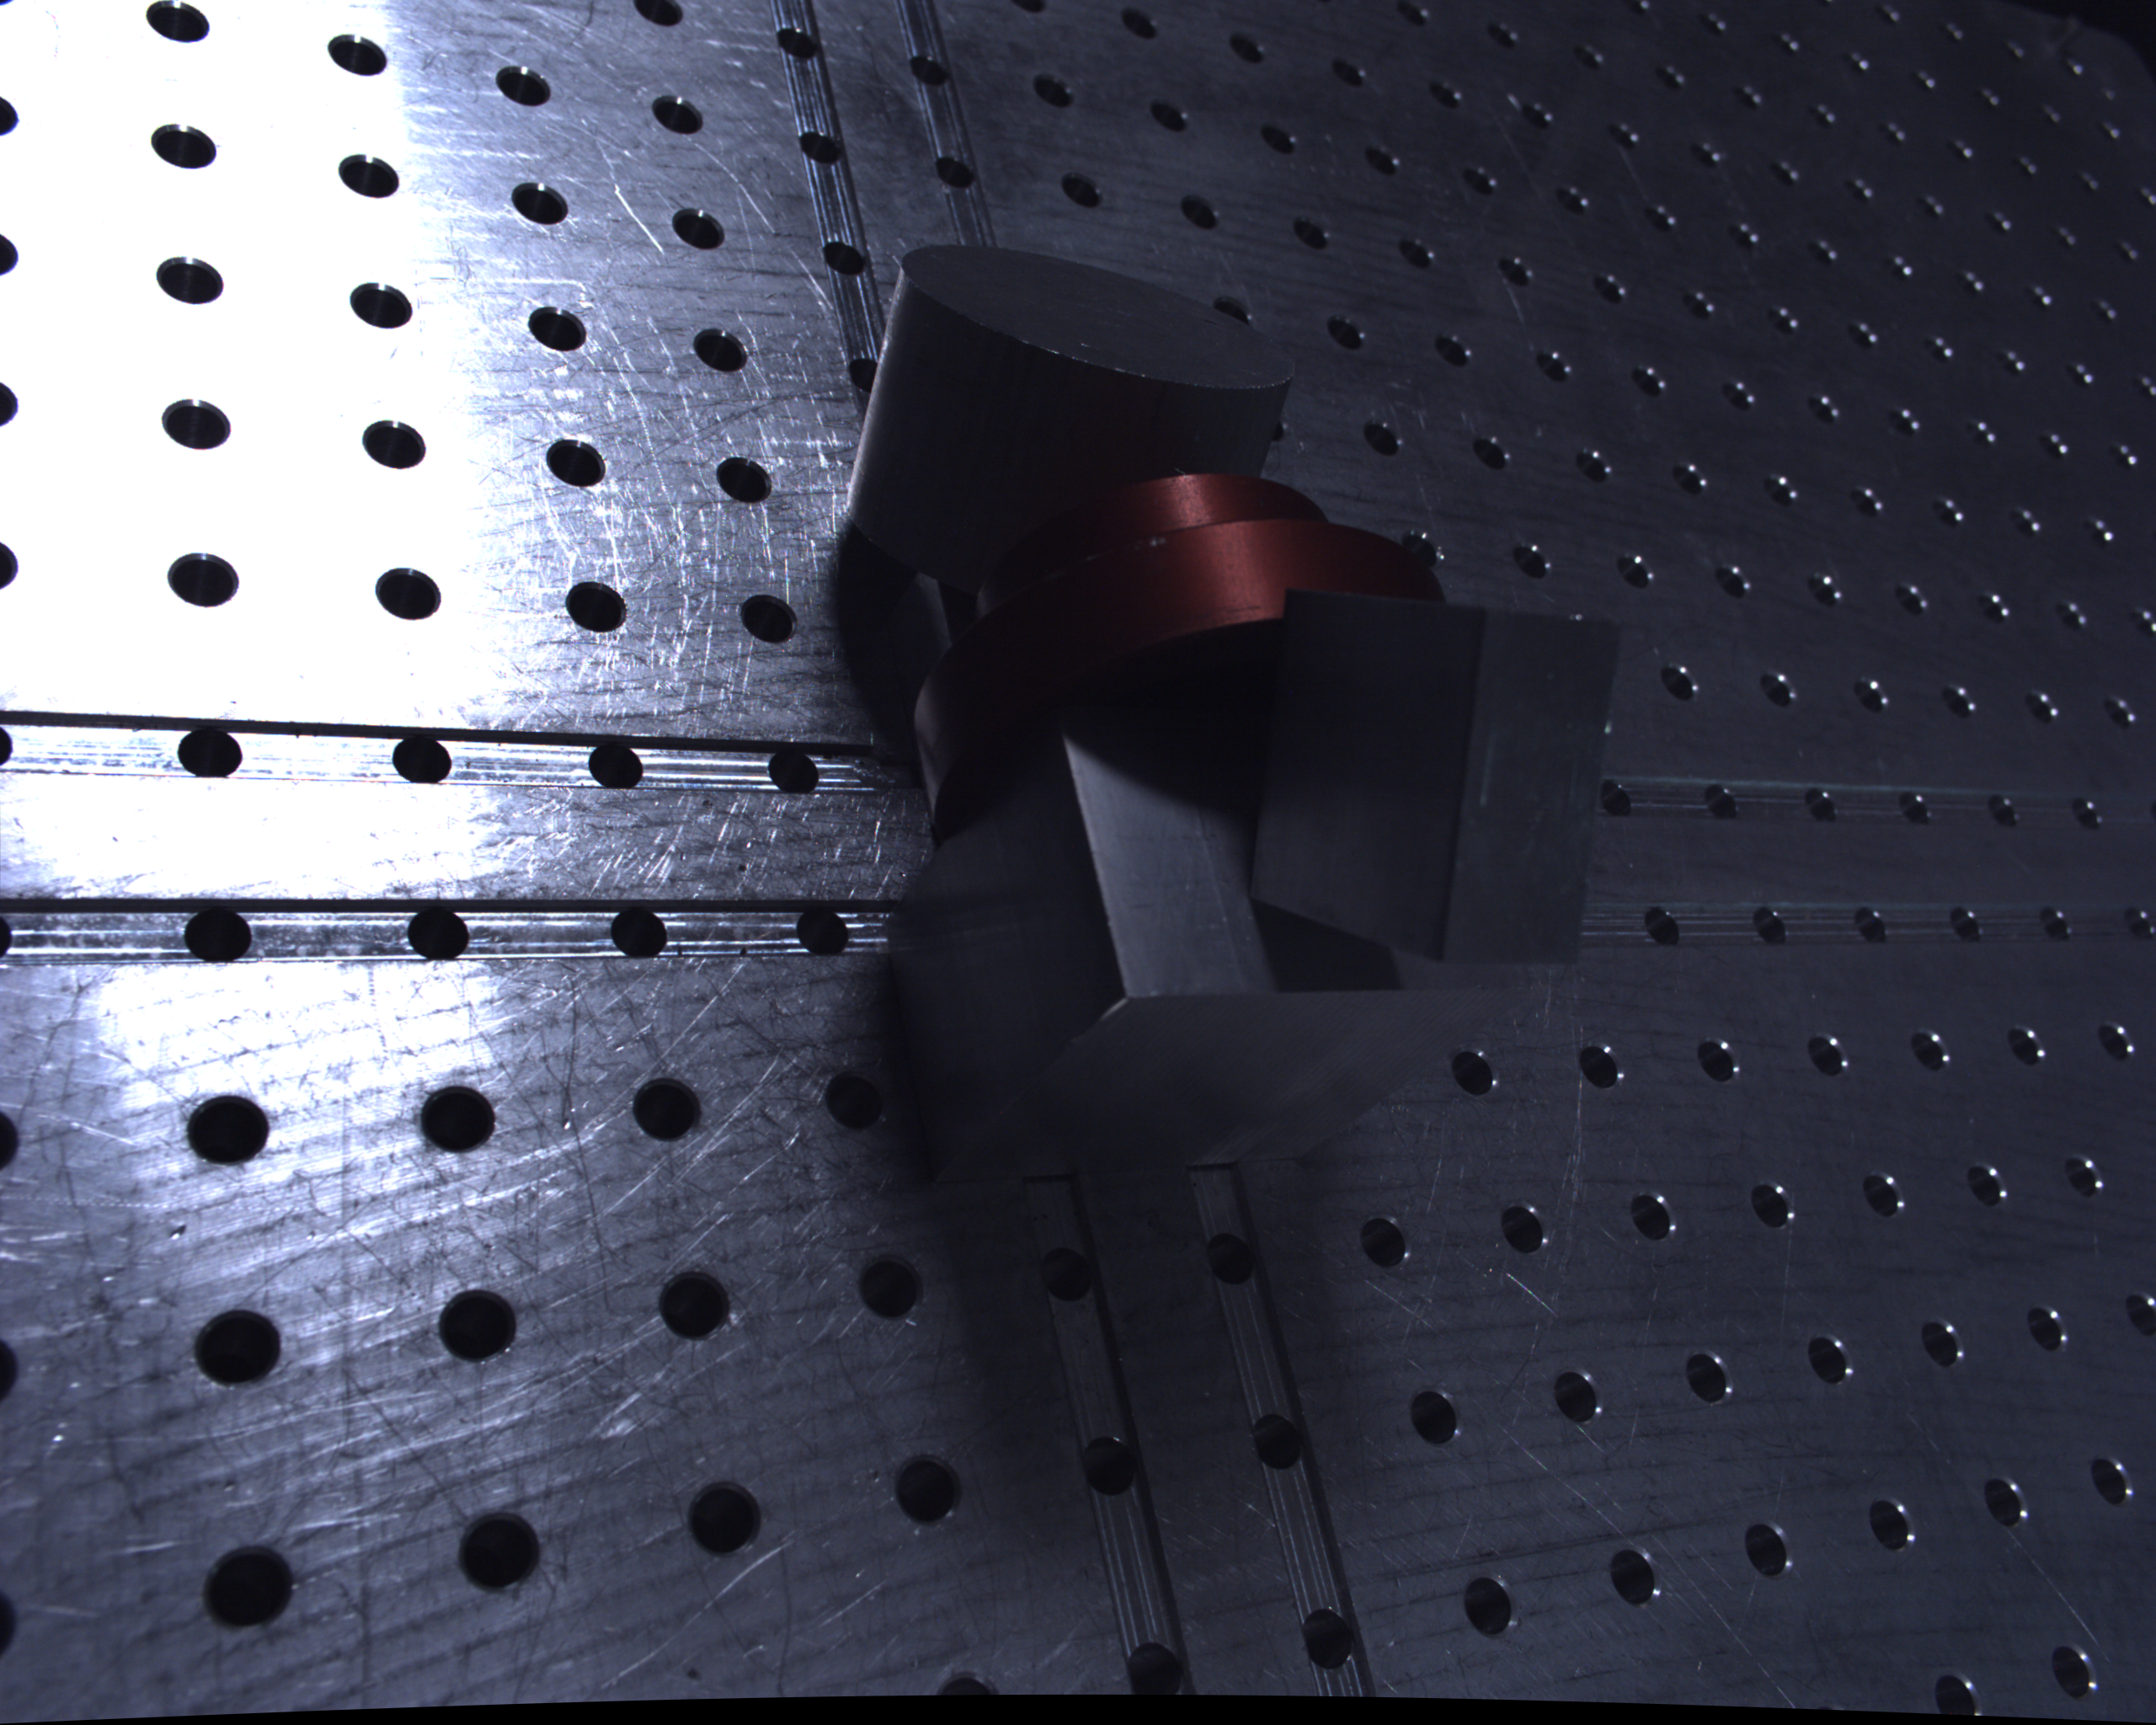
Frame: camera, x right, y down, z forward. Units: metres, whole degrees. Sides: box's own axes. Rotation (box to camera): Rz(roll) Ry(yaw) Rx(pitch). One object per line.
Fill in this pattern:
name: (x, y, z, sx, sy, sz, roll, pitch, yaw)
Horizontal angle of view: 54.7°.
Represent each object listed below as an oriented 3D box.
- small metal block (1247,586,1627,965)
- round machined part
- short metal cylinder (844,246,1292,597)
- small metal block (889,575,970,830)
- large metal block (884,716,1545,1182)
small metal block: (0.052, -0.014, 0.314, 0.025, 0.050, 0.050, 2, 99, -29)
round machined part: (0.019, -0.034, 0.380, 0.099, 0.097, 0.042, 1, 62, -28)
short metal cylinder: (-0.003, -0.088, 0.424, 0.081, 0.050, 0.080, 14, 27, -7)
small metal block: (-0.006, -0.034, 0.426, 0.050, 0.025, 0.050, 1, 61, -28)
large metal block: (0.021, 0.017, 0.374, 0.081, 0.080, 0.050, 1, 62, -28)
